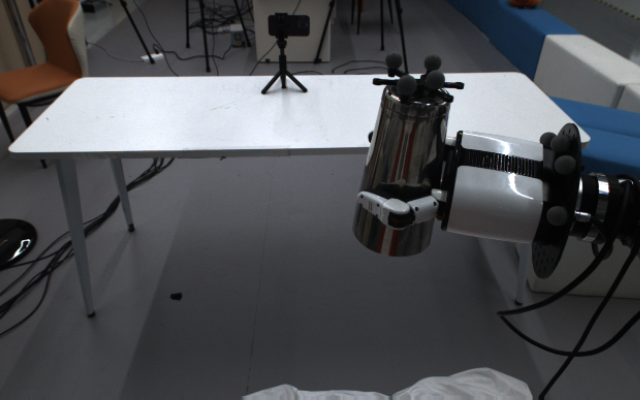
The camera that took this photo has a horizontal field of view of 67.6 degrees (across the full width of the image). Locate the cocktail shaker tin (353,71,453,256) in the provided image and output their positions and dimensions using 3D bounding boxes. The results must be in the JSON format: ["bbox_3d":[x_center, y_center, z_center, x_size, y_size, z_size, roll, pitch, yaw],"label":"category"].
[{"bbox_3d":[0.092,-0.035,0.517,0.093,0.170,0.093,3,34,-2],"label":"cocktail shaker tin"}]
